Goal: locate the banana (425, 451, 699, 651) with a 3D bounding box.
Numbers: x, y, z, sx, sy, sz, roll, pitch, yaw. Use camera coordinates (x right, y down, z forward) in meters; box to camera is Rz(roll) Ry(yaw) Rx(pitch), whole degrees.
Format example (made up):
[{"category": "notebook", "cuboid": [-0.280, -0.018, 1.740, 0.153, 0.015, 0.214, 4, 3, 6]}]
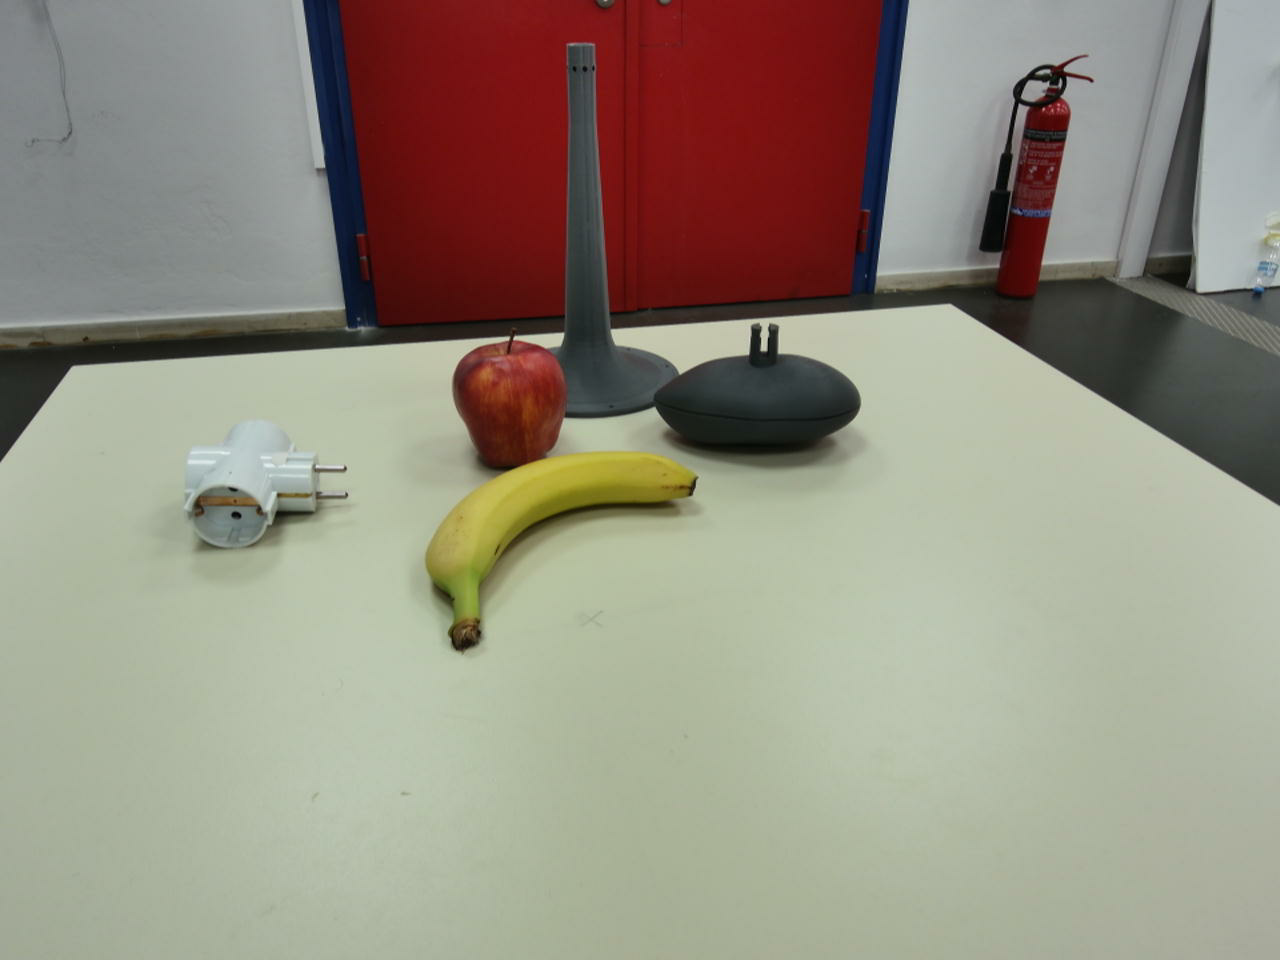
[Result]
[{"category": "banana", "cuboid": [-0.058, 0.023, 0.585, 0.094, 0.041, 0.196, 21, 33, 36]}]
